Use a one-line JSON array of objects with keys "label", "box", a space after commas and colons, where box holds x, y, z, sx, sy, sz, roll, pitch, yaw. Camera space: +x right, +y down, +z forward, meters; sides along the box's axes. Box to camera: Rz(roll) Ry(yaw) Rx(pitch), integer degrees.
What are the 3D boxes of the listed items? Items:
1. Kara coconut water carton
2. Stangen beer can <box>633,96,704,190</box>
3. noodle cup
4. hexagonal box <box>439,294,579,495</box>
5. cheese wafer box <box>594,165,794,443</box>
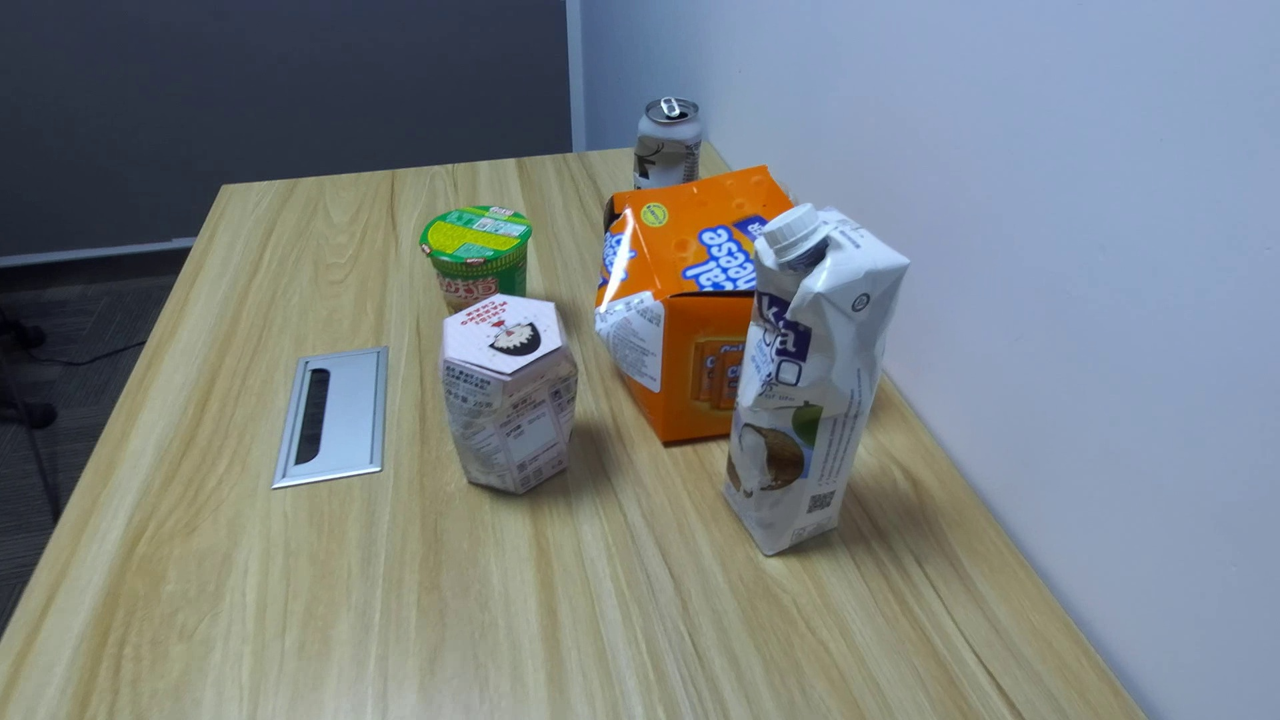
[{"label": "Kara coconut water carton", "box": [0.101, 0.013, 0.446, 0.078, 0.256, 0.083, -9, 42, -9]}, {"label": "Stangen beer can", "box": [0.031, -0.186, 0.749, 0.070, 0.173, 0.070, -9, 43, -10]}, {"label": "noodle cup", "box": [-0.146, -0.069, 0.660, 0.097, 0.110, 0.097, 1, 36, 0]}, {"label": "hexagonal box", "box": [-0.092, 0.028, 0.525, 0.091, 0.134, 0.090, 0, 43, -2]}, {"label": "cheese wafer box", "box": [0.055, -0.058, 0.620, 0.191, 0.145, 0.218, -7, 41, -10]}]
